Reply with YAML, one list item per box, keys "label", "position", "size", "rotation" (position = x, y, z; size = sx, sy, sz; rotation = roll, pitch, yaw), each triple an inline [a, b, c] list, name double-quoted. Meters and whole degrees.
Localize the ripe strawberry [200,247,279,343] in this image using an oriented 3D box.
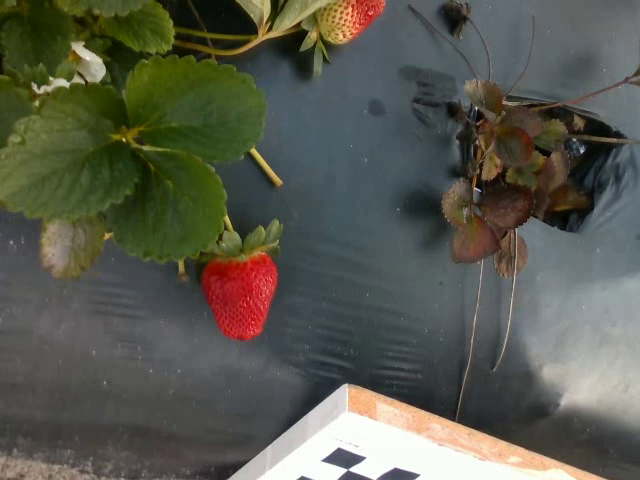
- label: "ripe strawberry"
  position: [-0.043, 0.031, 0.330]
  size: [0.045, 0.055, 0.042]
  rotation: [-10, -20, 15]
